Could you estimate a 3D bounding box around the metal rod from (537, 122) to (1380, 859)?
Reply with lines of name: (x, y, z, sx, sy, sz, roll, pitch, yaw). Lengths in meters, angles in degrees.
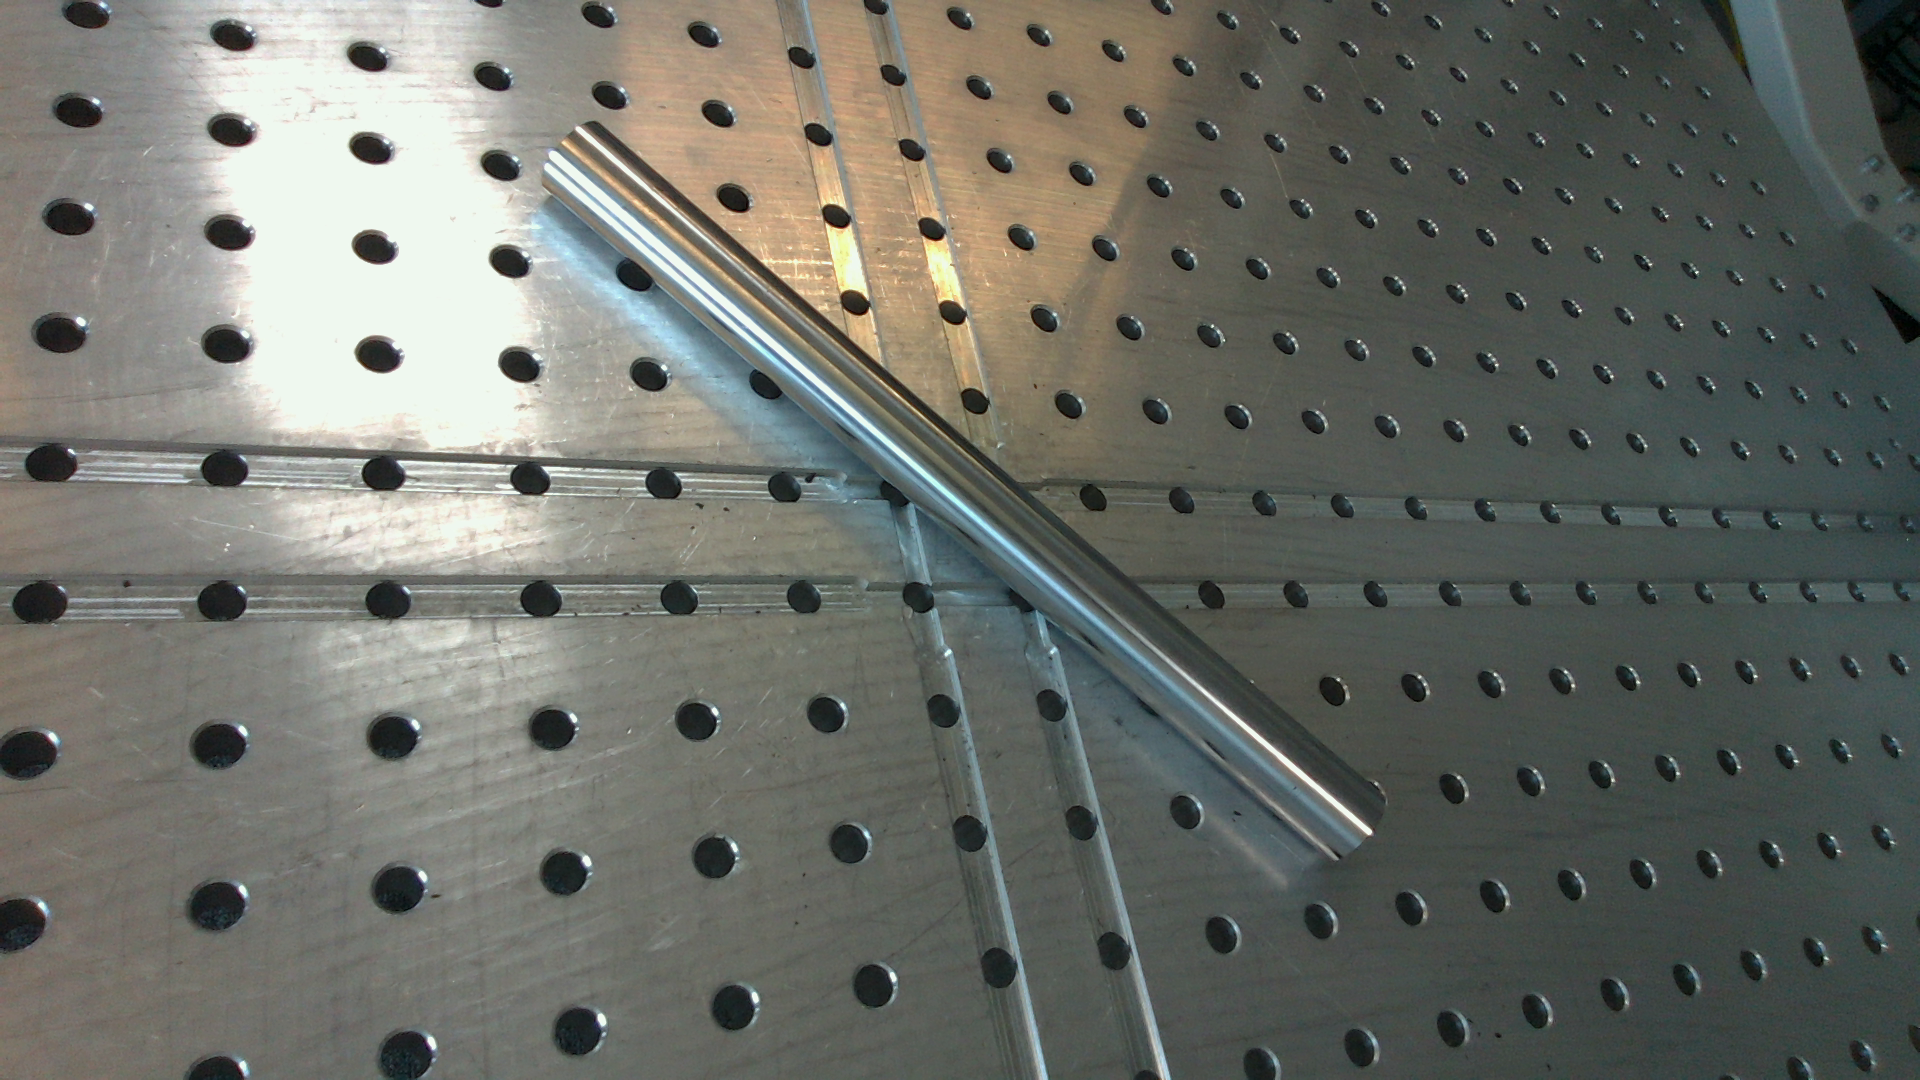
metal rod: (0.000, -0.014, 0.401, 0.300, 0.025, 0.025, 41, 51, -1)
